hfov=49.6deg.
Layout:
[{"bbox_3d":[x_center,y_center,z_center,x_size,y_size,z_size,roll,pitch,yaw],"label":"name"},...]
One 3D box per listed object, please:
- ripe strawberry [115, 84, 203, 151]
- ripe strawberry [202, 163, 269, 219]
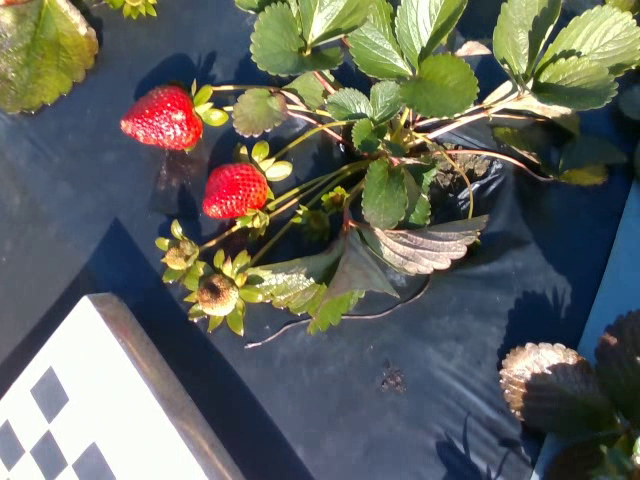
[{"bbox_3d":[-0.101,-0.075,0.424,0.050,0.050,0.045,-14,-16,-39],"label":"ripe strawberry"},{"bbox_3d":[-0.052,-0.026,0.400,0.042,0.039,0.049,1,27,32],"label":"ripe strawberry"}]
